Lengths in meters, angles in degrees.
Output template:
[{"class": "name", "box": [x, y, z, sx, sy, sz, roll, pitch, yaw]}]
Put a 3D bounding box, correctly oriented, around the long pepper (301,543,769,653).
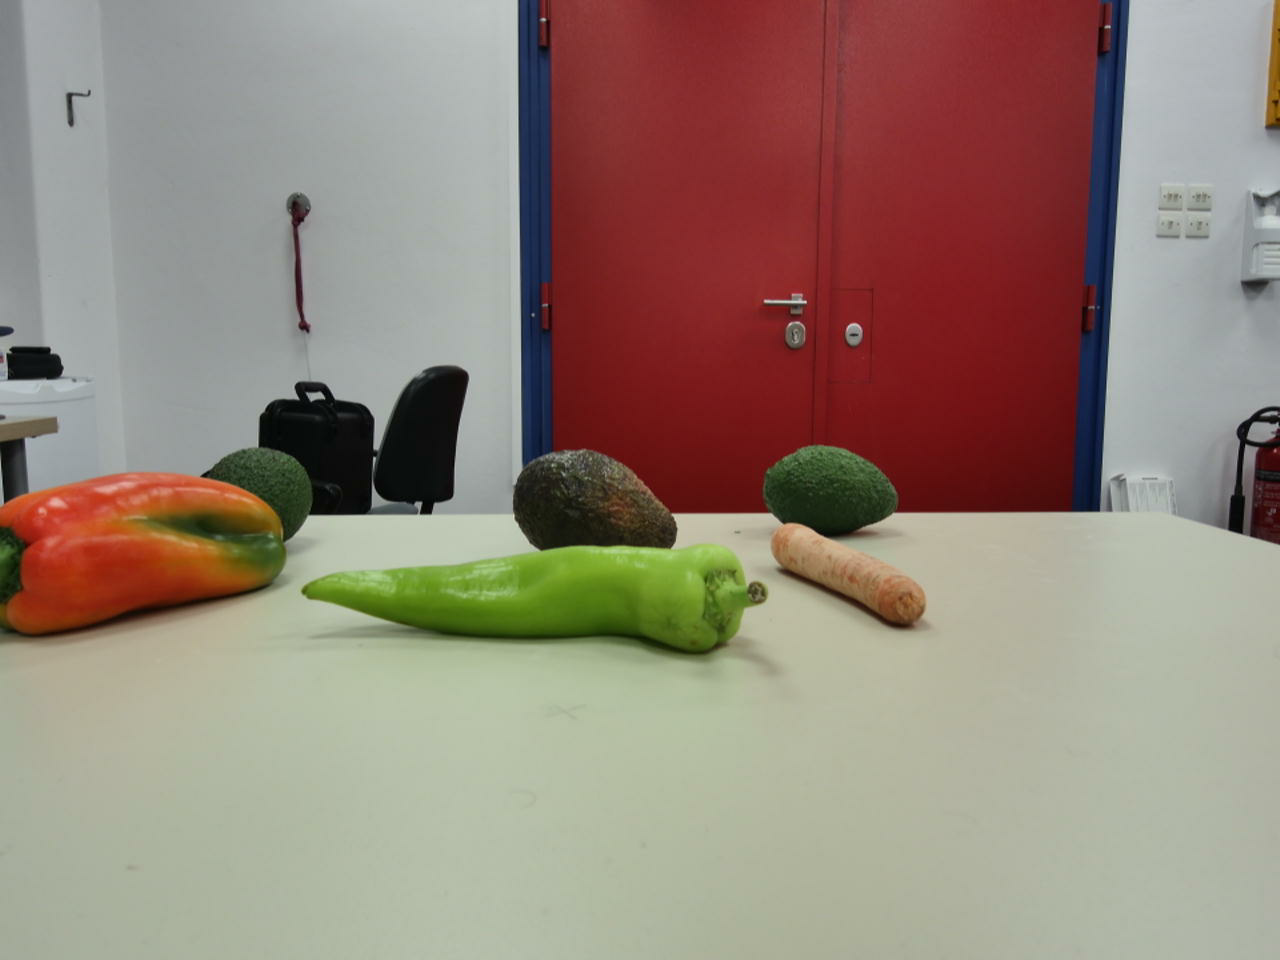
[{"class": "long pepper", "box": [-0.042, 0.049, 0.441, 0.205, 0.045, 0.065, 1, 4, 16]}]
